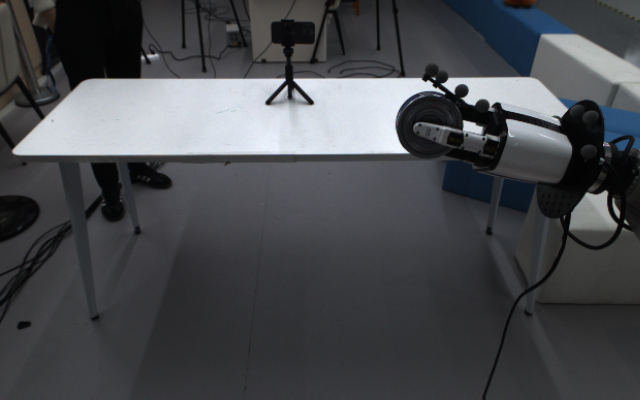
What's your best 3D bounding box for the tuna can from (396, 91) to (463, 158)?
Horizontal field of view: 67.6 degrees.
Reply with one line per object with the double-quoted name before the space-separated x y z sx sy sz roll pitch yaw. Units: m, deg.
"tuna can" 0.147 -0.093 0.636 0.085 0.085 0.034 7 19 7
